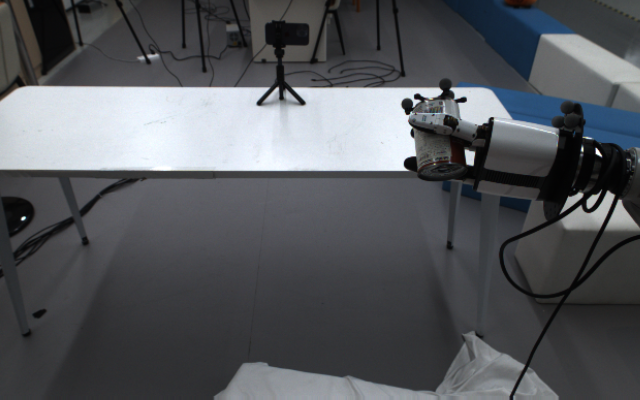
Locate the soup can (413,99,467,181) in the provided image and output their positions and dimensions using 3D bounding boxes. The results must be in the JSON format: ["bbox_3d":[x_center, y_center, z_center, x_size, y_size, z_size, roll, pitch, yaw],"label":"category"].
[{"bbox_3d":[0.167,-0.088,0.686,0.067,0.067,0.101,-1,72,-4],"label":"soup can"}]
